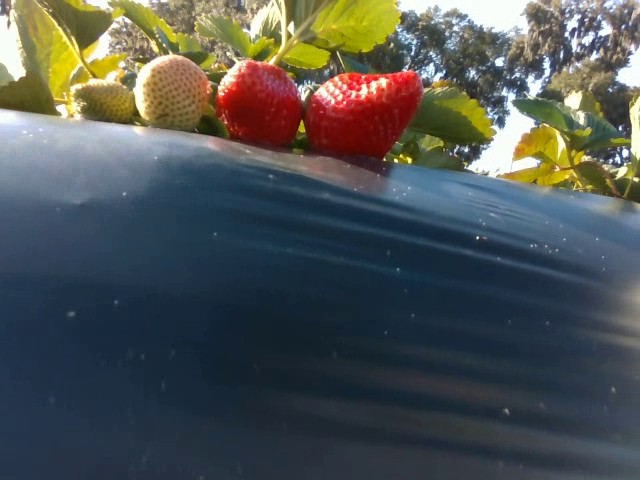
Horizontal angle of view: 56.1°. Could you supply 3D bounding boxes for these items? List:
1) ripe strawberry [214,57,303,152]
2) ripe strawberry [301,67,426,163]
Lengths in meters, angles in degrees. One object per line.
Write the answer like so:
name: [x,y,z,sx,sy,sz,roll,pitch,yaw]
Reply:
ripe strawberry: [-0.029,-0.065,0.266,0.050,0.044,0.061,29,-4,10]
ripe strawberry: [0.024,-0.059,0.270,0.056,0.052,0.067,-30,5,-41]
